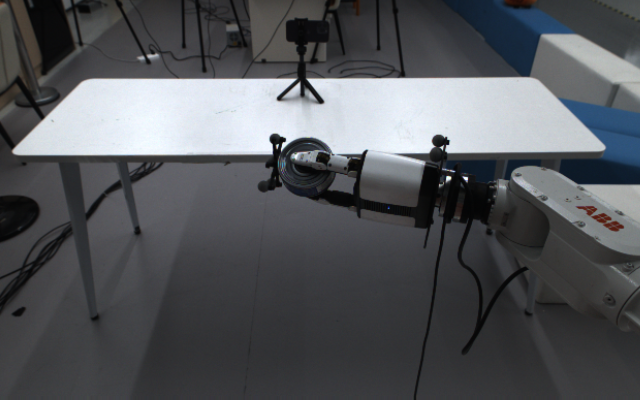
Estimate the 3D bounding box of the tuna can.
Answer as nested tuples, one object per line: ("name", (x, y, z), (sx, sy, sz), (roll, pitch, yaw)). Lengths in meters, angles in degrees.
("tuna can", (-0.018, -0.051, 0.723), (0.085, 0.034, 0.085), (-2, 69, 6))
